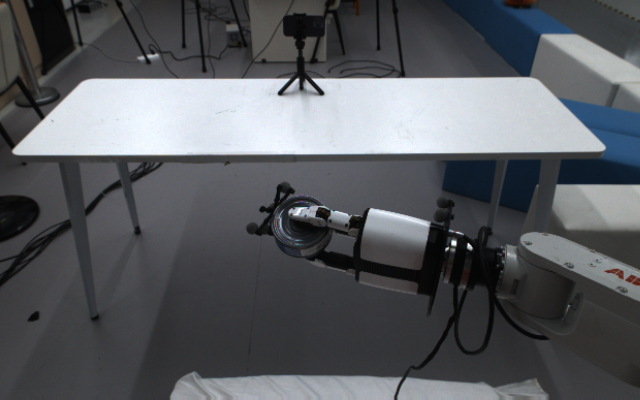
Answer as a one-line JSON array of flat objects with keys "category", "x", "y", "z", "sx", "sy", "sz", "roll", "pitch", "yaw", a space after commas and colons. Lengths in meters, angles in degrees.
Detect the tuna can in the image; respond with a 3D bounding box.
[{"category": "tuna can", "x": -0.022, "y": 0.041, "z": 0.682, "sx": 0.085, "sy": 0.034, "sz": 0.085, "roll": -1, "pitch": 62, "yaw": 1}]
